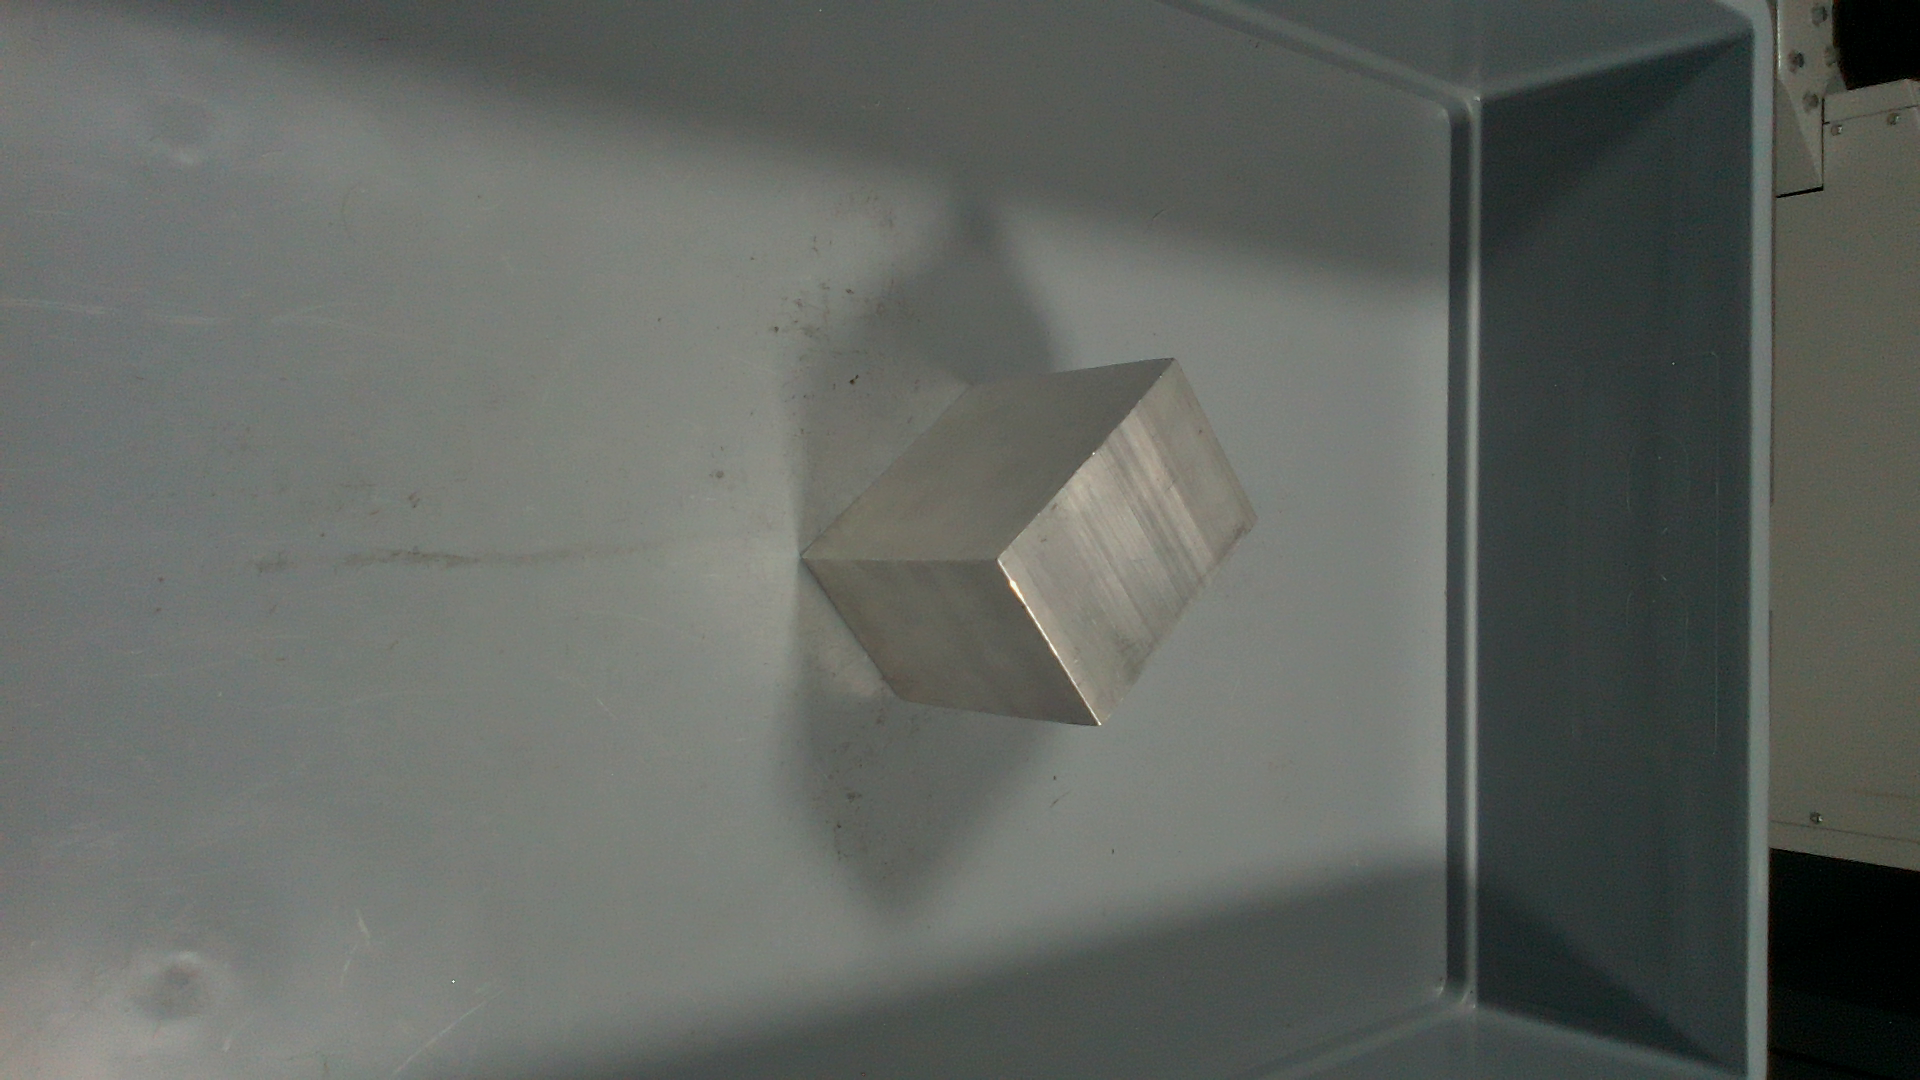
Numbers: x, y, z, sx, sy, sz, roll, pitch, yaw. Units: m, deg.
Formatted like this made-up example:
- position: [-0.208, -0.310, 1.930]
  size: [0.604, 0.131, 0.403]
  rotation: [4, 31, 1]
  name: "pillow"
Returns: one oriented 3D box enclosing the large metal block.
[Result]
- position: [0.019, -0.001, 0.366]
  size: [0.080, 0.080, 0.050]
  rotation: [-47, 118, -29]
  name: "large metal block"
